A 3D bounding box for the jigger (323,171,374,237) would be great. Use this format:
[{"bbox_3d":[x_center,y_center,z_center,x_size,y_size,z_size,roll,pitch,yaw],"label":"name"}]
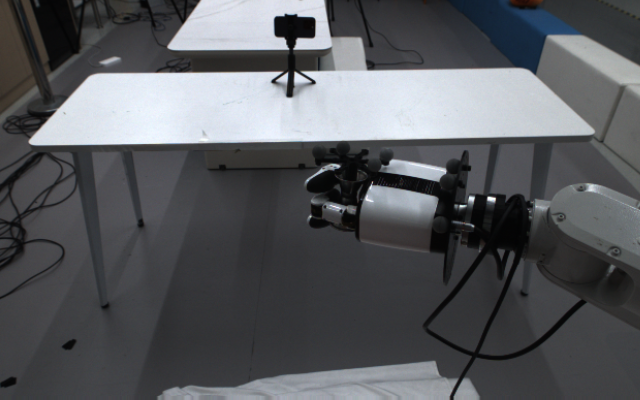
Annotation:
[{"bbox_3d":[0.040,-0.001,0.606,0.043,0.071,0.043,3,25,-1],"label":"jigger"}]
